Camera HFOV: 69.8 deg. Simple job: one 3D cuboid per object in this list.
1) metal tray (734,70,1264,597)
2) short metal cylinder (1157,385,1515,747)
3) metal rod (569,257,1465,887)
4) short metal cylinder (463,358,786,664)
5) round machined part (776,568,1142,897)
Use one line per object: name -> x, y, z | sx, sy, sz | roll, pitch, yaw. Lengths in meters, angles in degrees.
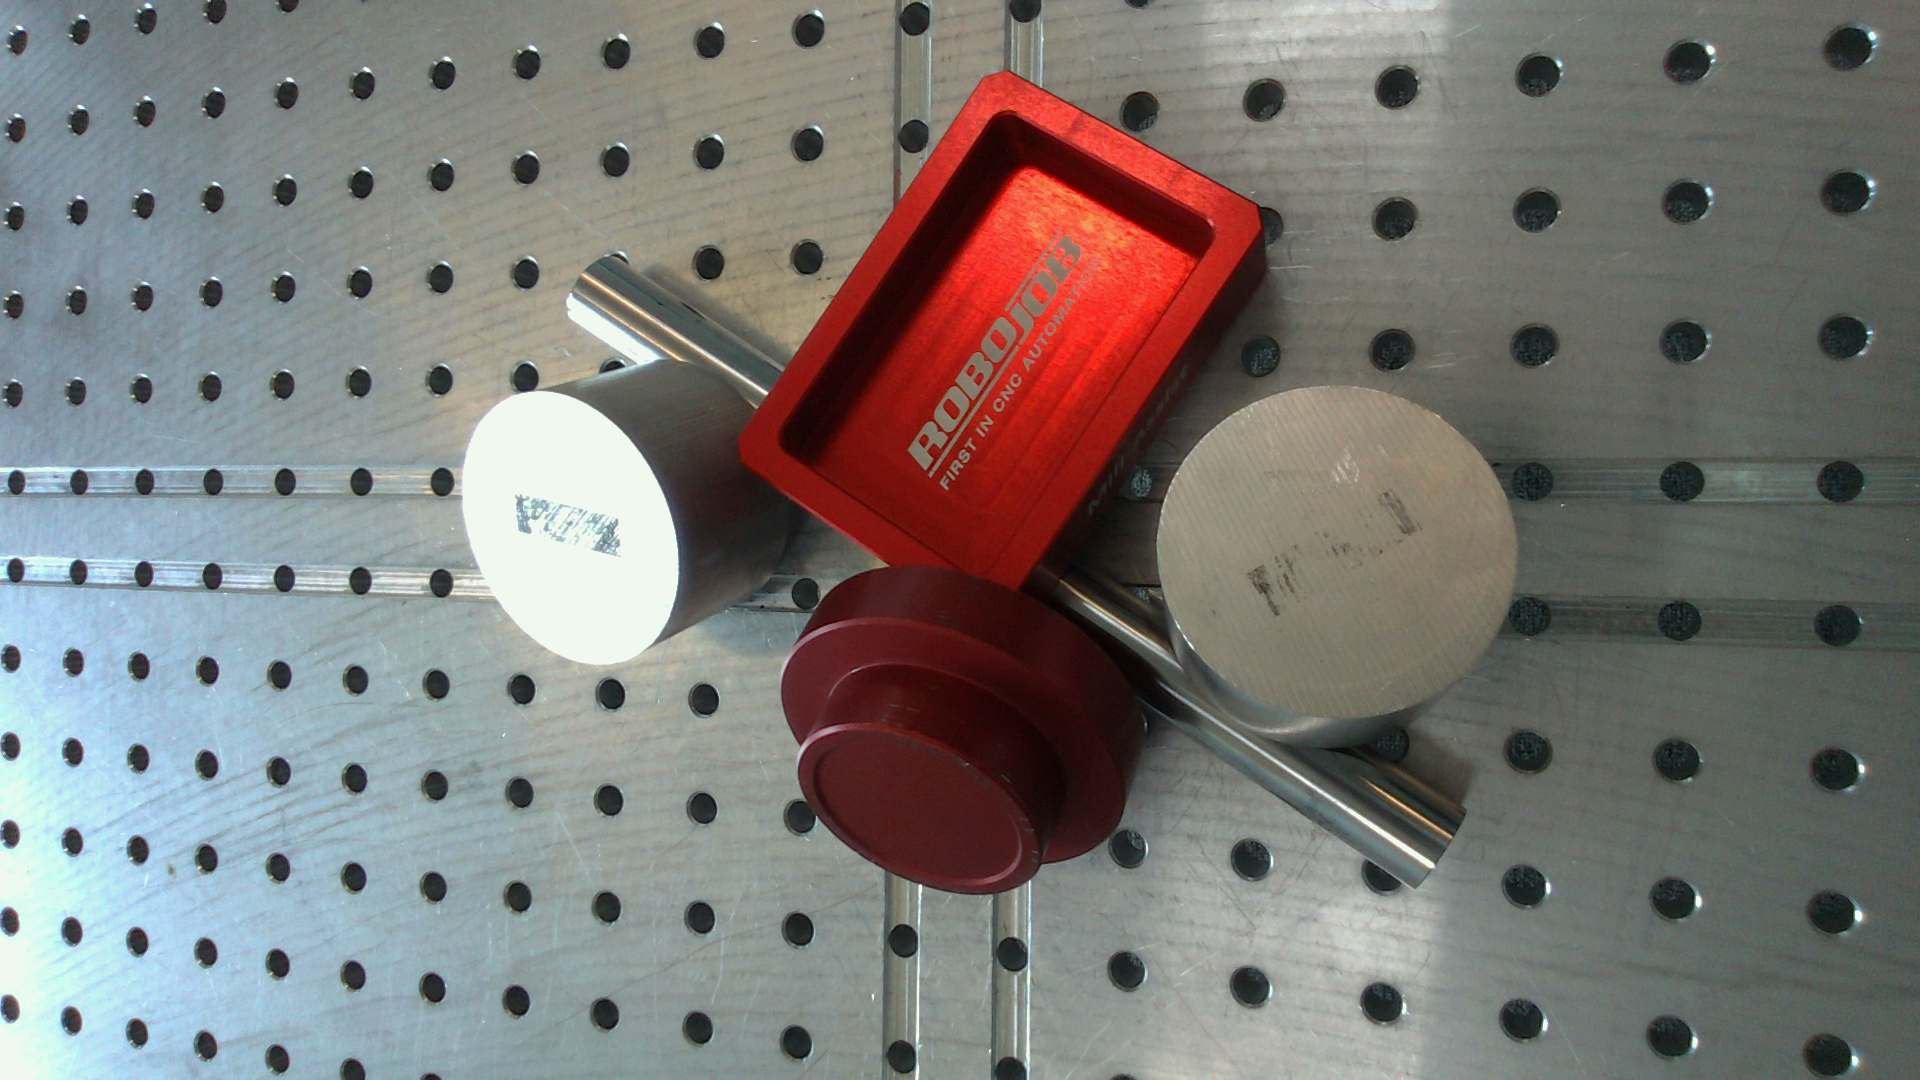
metal tray -> 0.011, -0.051, 0.376 | 0.090, 0.030, 0.130 | 33, 88, 17
short metal cylinder -> 0.089, 0.009, 0.340 | 0.080, 0.050, 0.080 | -2, 73, 8
metal rod -> 0.003, 0.000, 0.397 | 0.299, 0.025, 0.025 | 34, 101, 17
short metal cylinder -> -0.099, -0.010, 0.408 | 0.080, 0.050, 0.080 | 10, 111, 27
round machined part -> -0.004, 0.057, 0.362 | 0.098, 0.042, 0.098 | 15, 138, 14
